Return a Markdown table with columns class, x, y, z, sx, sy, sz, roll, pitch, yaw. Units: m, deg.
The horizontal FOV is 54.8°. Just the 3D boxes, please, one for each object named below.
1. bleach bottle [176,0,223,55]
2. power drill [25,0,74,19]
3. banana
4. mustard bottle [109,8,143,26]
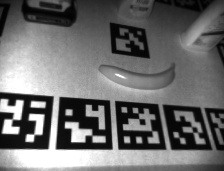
| class | x | y | z | sx | sy | sz | roll | pitch | yaw |
| --- | --- | --- | --- | --- | --- | --- | --- | --- | --- |
| bleach bottle | 0.262 | -0.173 | 0.515 | 0.103 | 0.250 | 0.067 | 11 | 60 | -12 |
| power drill | -0.105 | -0.212 | 0.410 | 0.186 | 0.187 | 0.057 | -3 | 64 | -16 |
| banana | 0.059 | -0.008 | 0.472 | 0.199 | 0.039 | 0.074 | -2 | 66 | -17 |
| mustard bottle | 0.065 | -0.227 | 0.513 | 0.097 | 0.191 | 0.058 | -3 | 64 | -21 |
